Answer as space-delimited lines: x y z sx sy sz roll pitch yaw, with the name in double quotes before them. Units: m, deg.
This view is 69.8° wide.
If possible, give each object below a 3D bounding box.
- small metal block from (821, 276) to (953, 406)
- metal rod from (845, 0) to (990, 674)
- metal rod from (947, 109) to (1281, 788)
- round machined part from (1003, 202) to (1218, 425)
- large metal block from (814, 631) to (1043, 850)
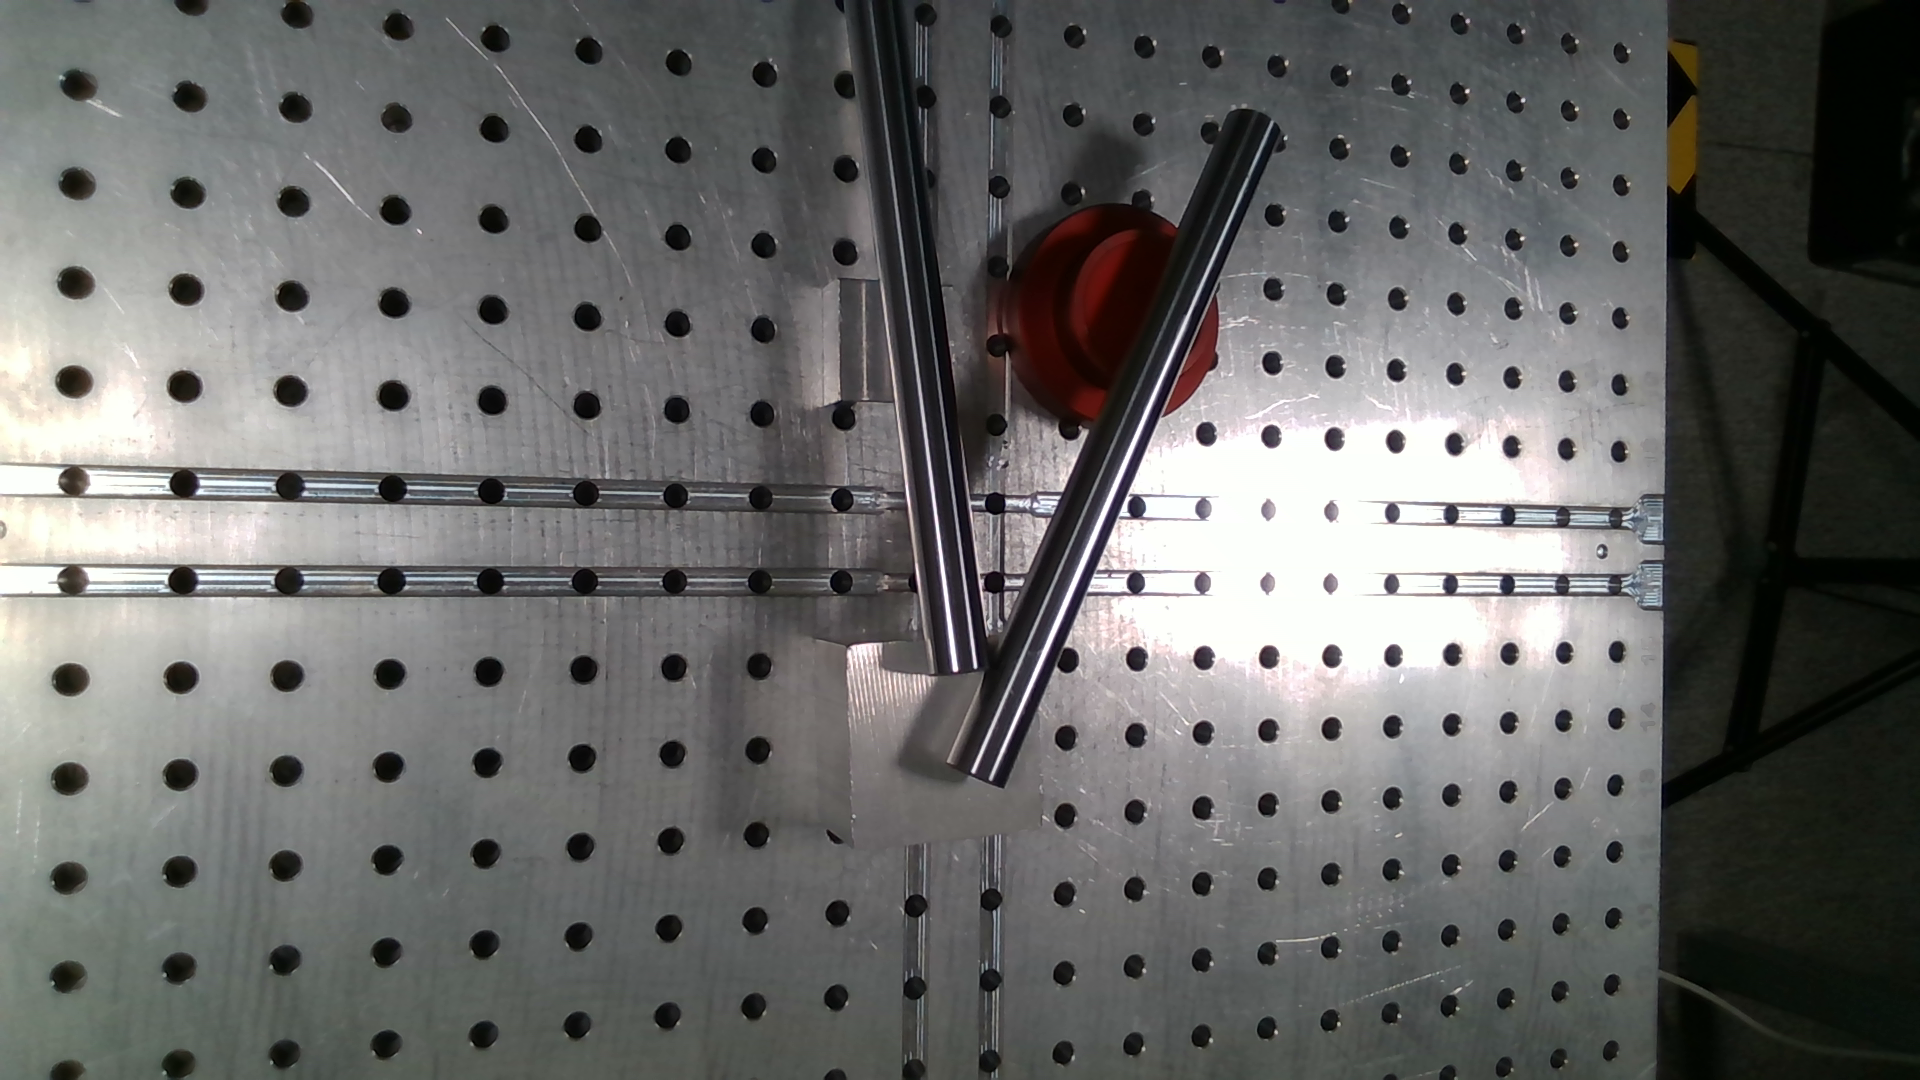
"small metal block" -0.031 -0.082 0.577 0.050 0.025 0.050 -1 90 -20
"metal rod" -0.019 -0.097 0.552 0.025 0.025 0.300 -4 81 -20
"metal rod" 0.066 -0.043 0.561 0.025 0.025 0.300 28 78 -18
"round machined part" 0.071 -0.100 0.605 0.098 0.042 0.098 0 90 -20
"large metal block" -0.014 0.078 0.567 0.080 0.050 0.080 -2 91 -20
